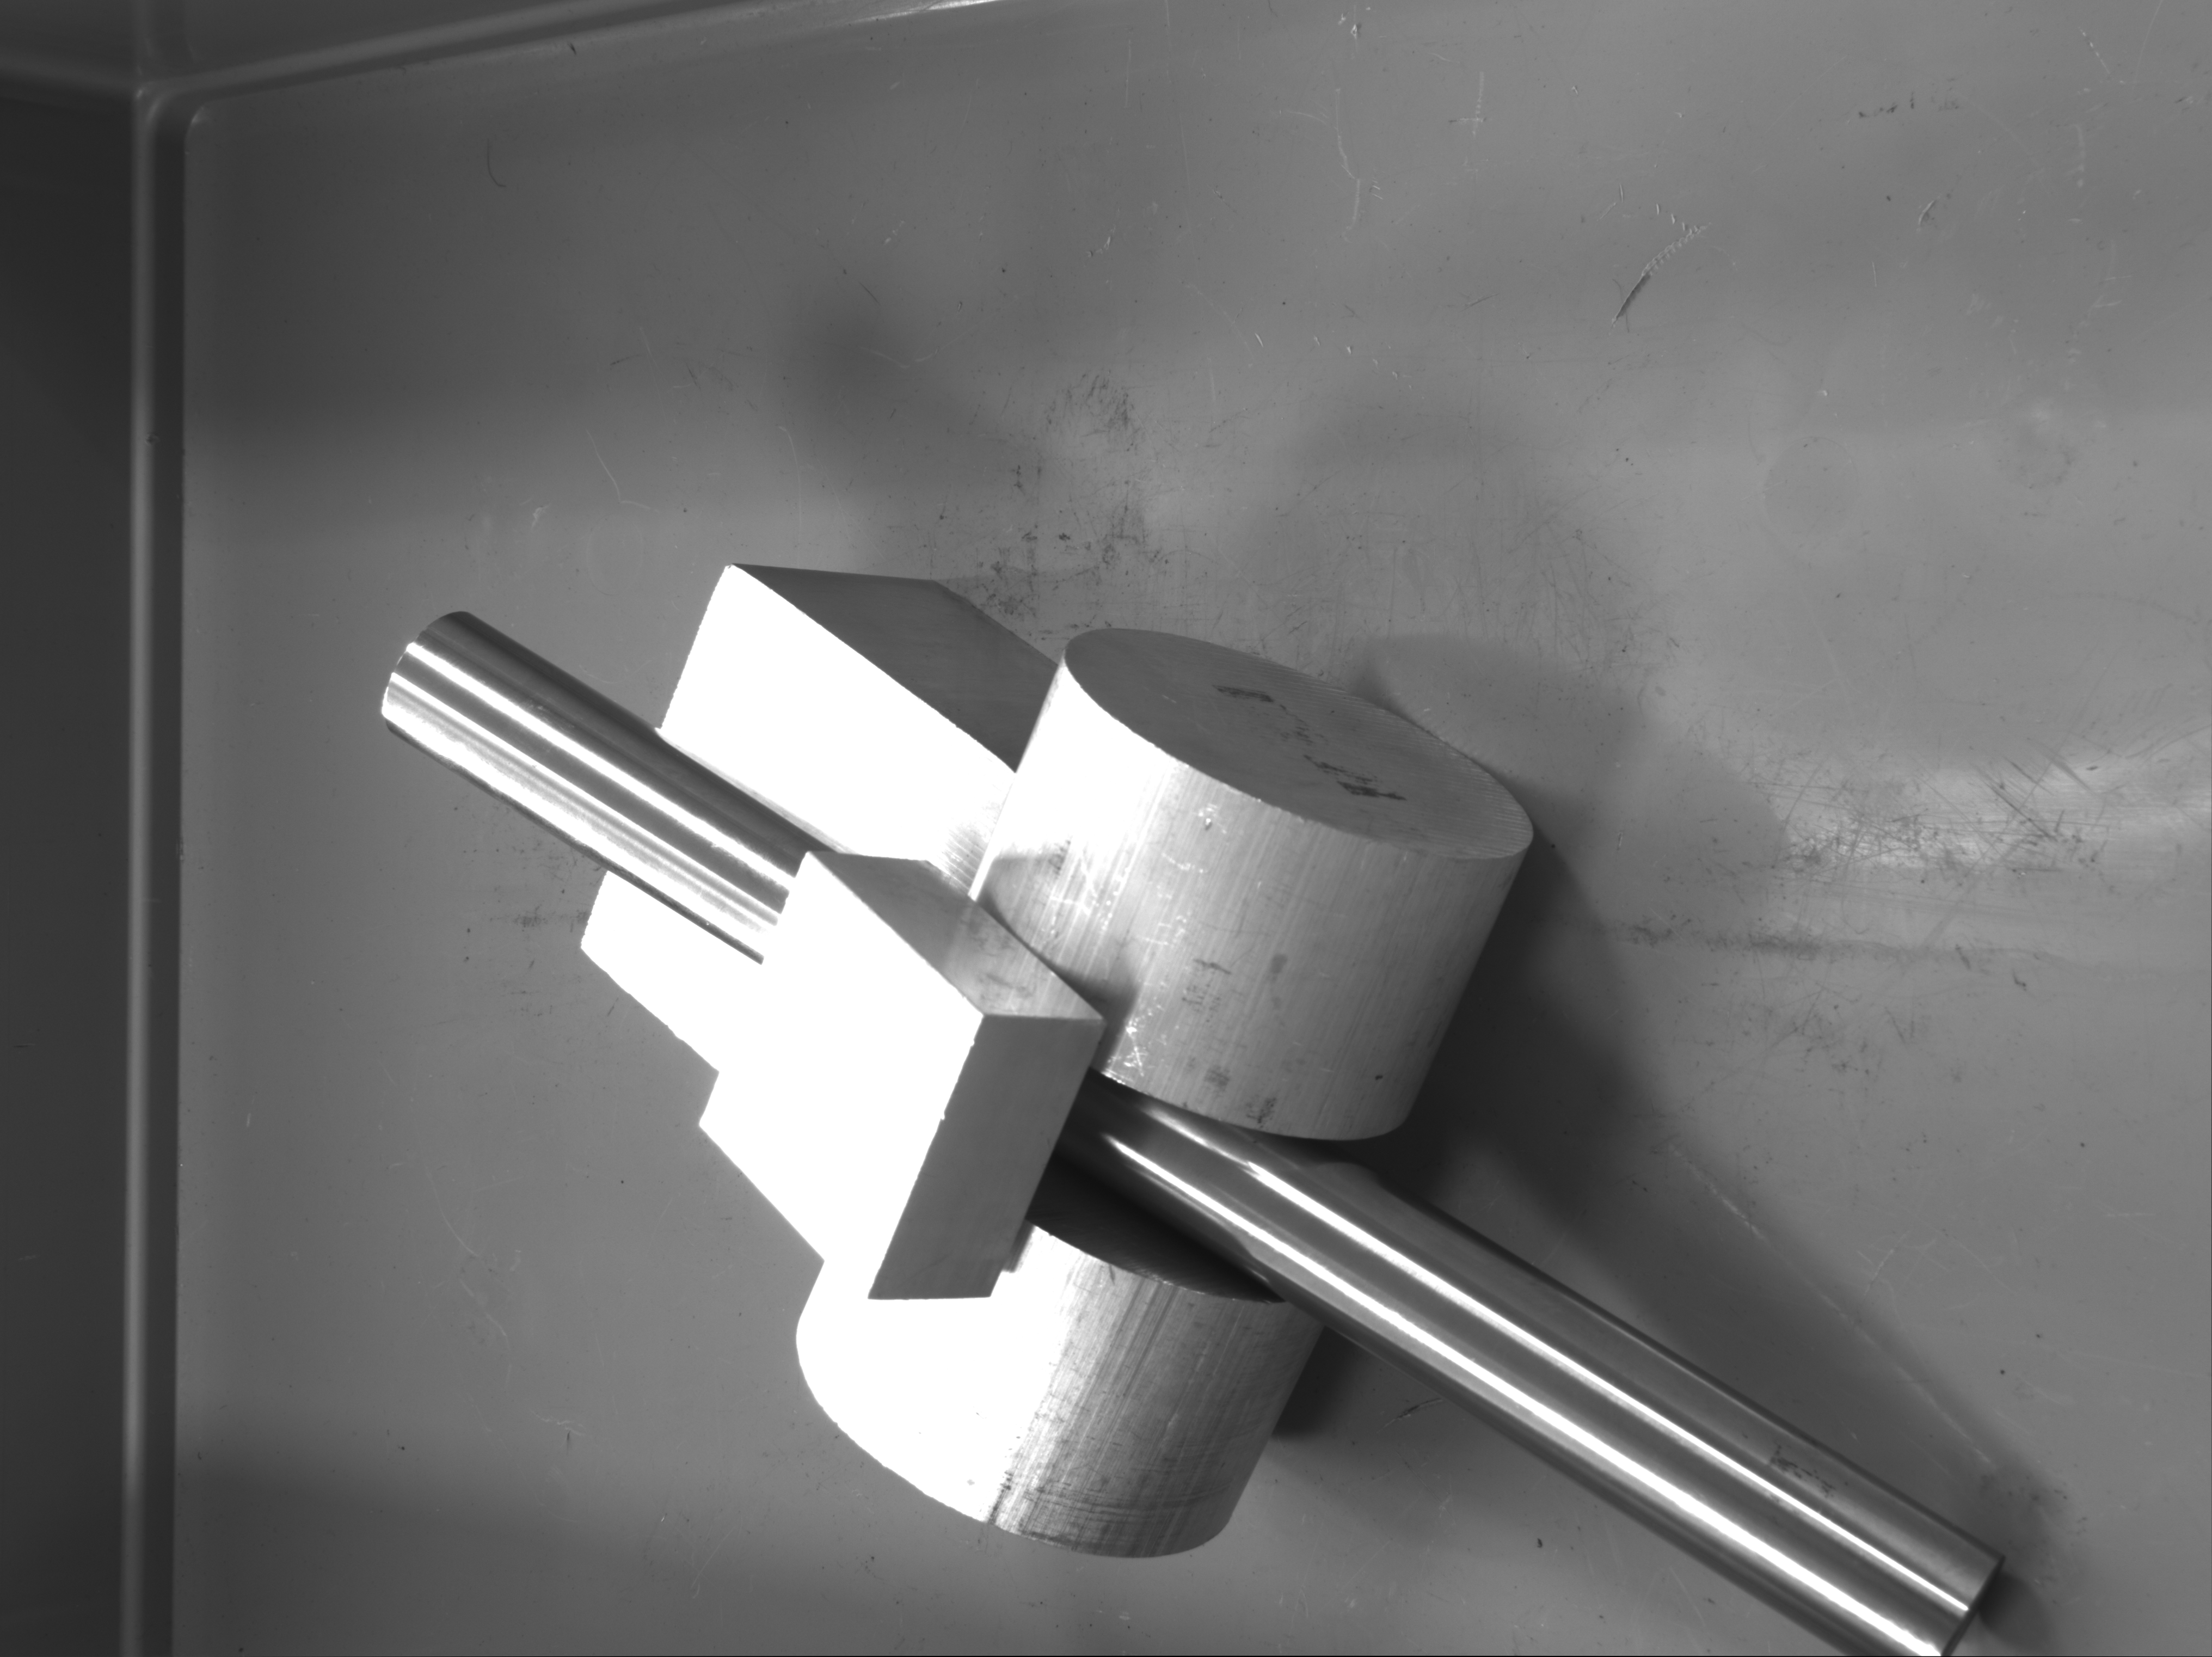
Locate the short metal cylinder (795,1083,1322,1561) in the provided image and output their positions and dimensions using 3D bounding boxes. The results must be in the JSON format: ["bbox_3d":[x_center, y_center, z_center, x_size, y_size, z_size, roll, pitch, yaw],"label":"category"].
[{"bbox_3d":[-0.005,0.077,0.612,0.080,0.080,0.050,37,113,34],"label":"short metal cylinder"}]

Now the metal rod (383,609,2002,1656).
[{"bbox_3d":[0.004,0.045,0.589,0.299,0.025,0.025,31,110,20],"label":"metal rod"}]

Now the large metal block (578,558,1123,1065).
[{"bbox_3d":[-0.039,0.007,0.658,0.080,0.050,0.080,36,112,34],"label":"large metal block"}]

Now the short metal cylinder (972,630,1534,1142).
[{"bbox_3d":[0.022,0.008,0.590,0.080,0.080,0.050,35,111,35],"label":"short metal cylinder"}]

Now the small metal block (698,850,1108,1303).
[{"bbox_3d":[-0.032,0.038,0.568,0.050,0.025,0.050,40,115,42],"label":"small metal block"}]
